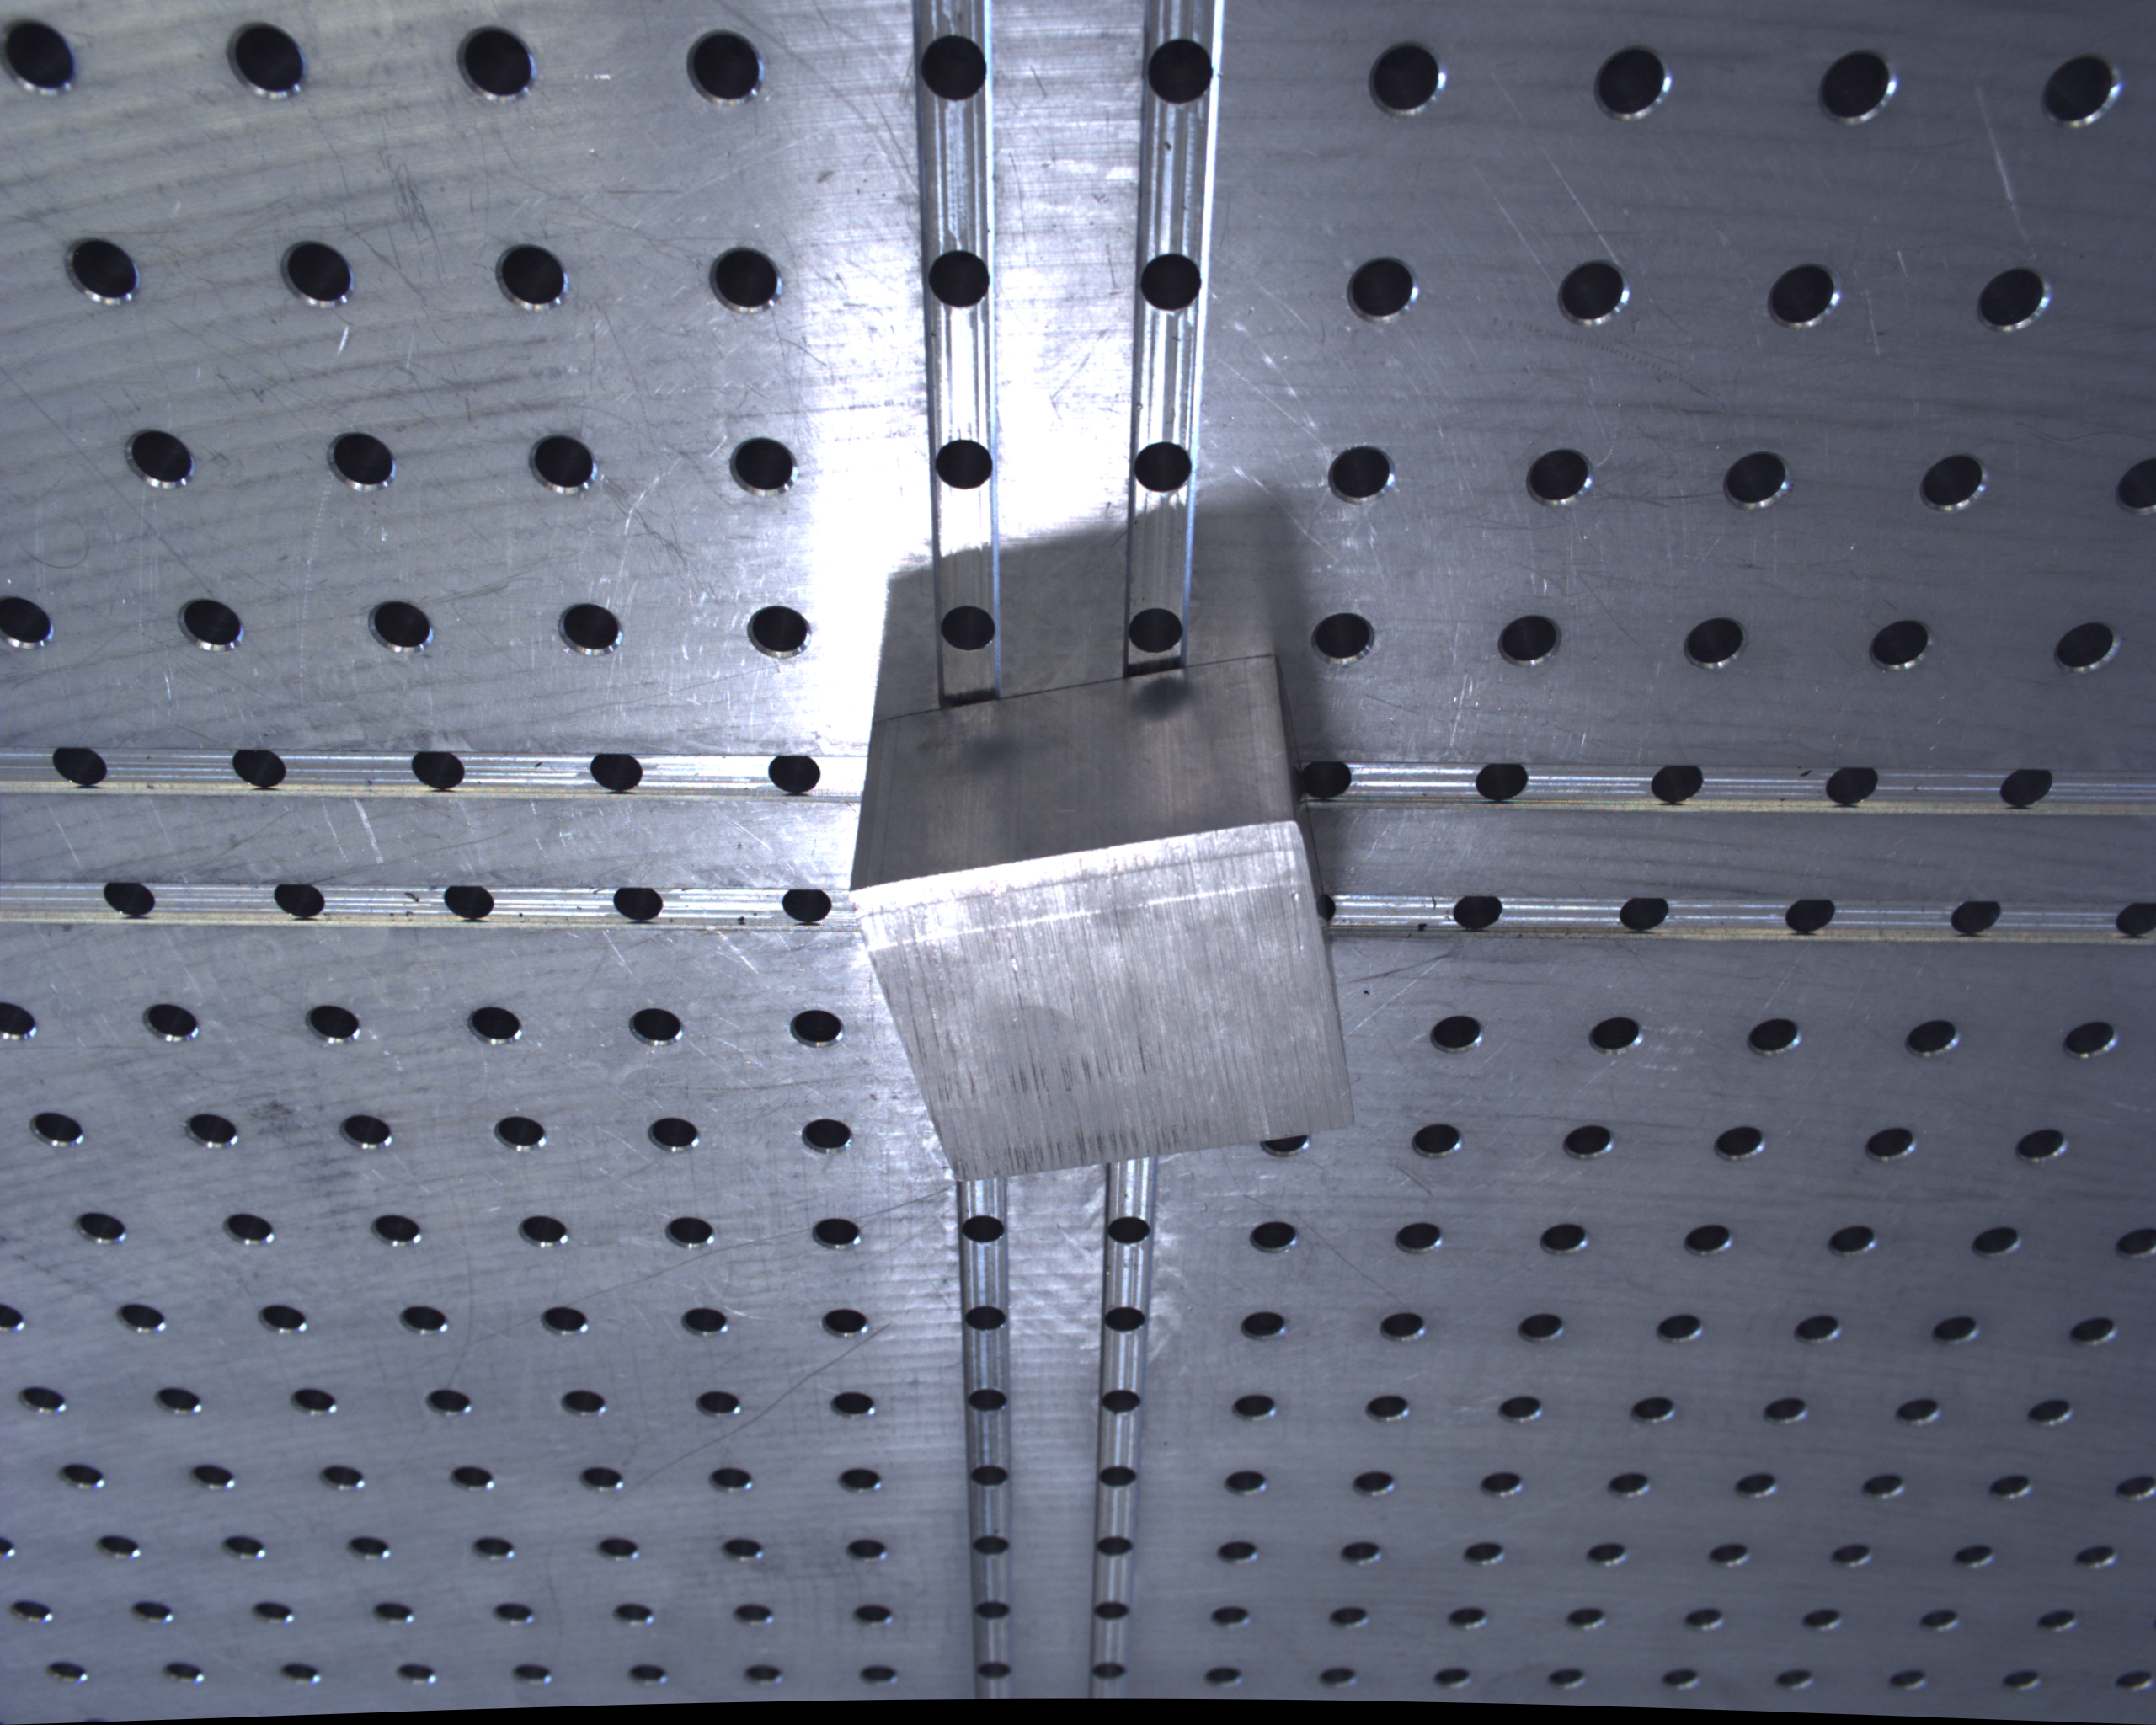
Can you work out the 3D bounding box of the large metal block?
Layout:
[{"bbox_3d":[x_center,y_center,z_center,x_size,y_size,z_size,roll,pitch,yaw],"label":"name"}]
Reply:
[{"bbox_3d":[0.007,0.012,0.404,0.080,0.050,0.080,-9,130,8],"label":"large metal block"}]
